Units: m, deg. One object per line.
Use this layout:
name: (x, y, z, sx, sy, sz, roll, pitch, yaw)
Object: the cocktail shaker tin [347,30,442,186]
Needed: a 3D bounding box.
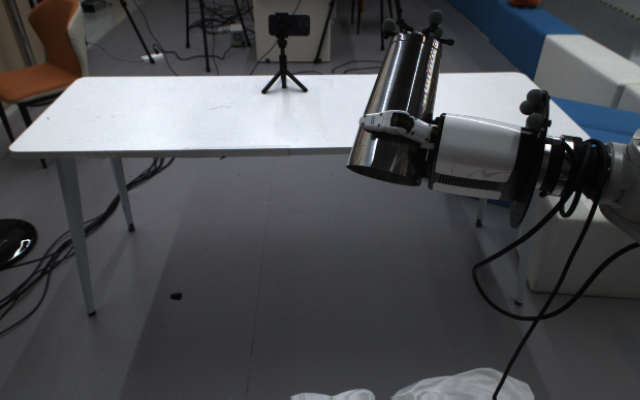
cocktail shaker tin: (0.099, -0.111, 0.594, 0.093, 0.170, 0.093, 15, -4, 1)
